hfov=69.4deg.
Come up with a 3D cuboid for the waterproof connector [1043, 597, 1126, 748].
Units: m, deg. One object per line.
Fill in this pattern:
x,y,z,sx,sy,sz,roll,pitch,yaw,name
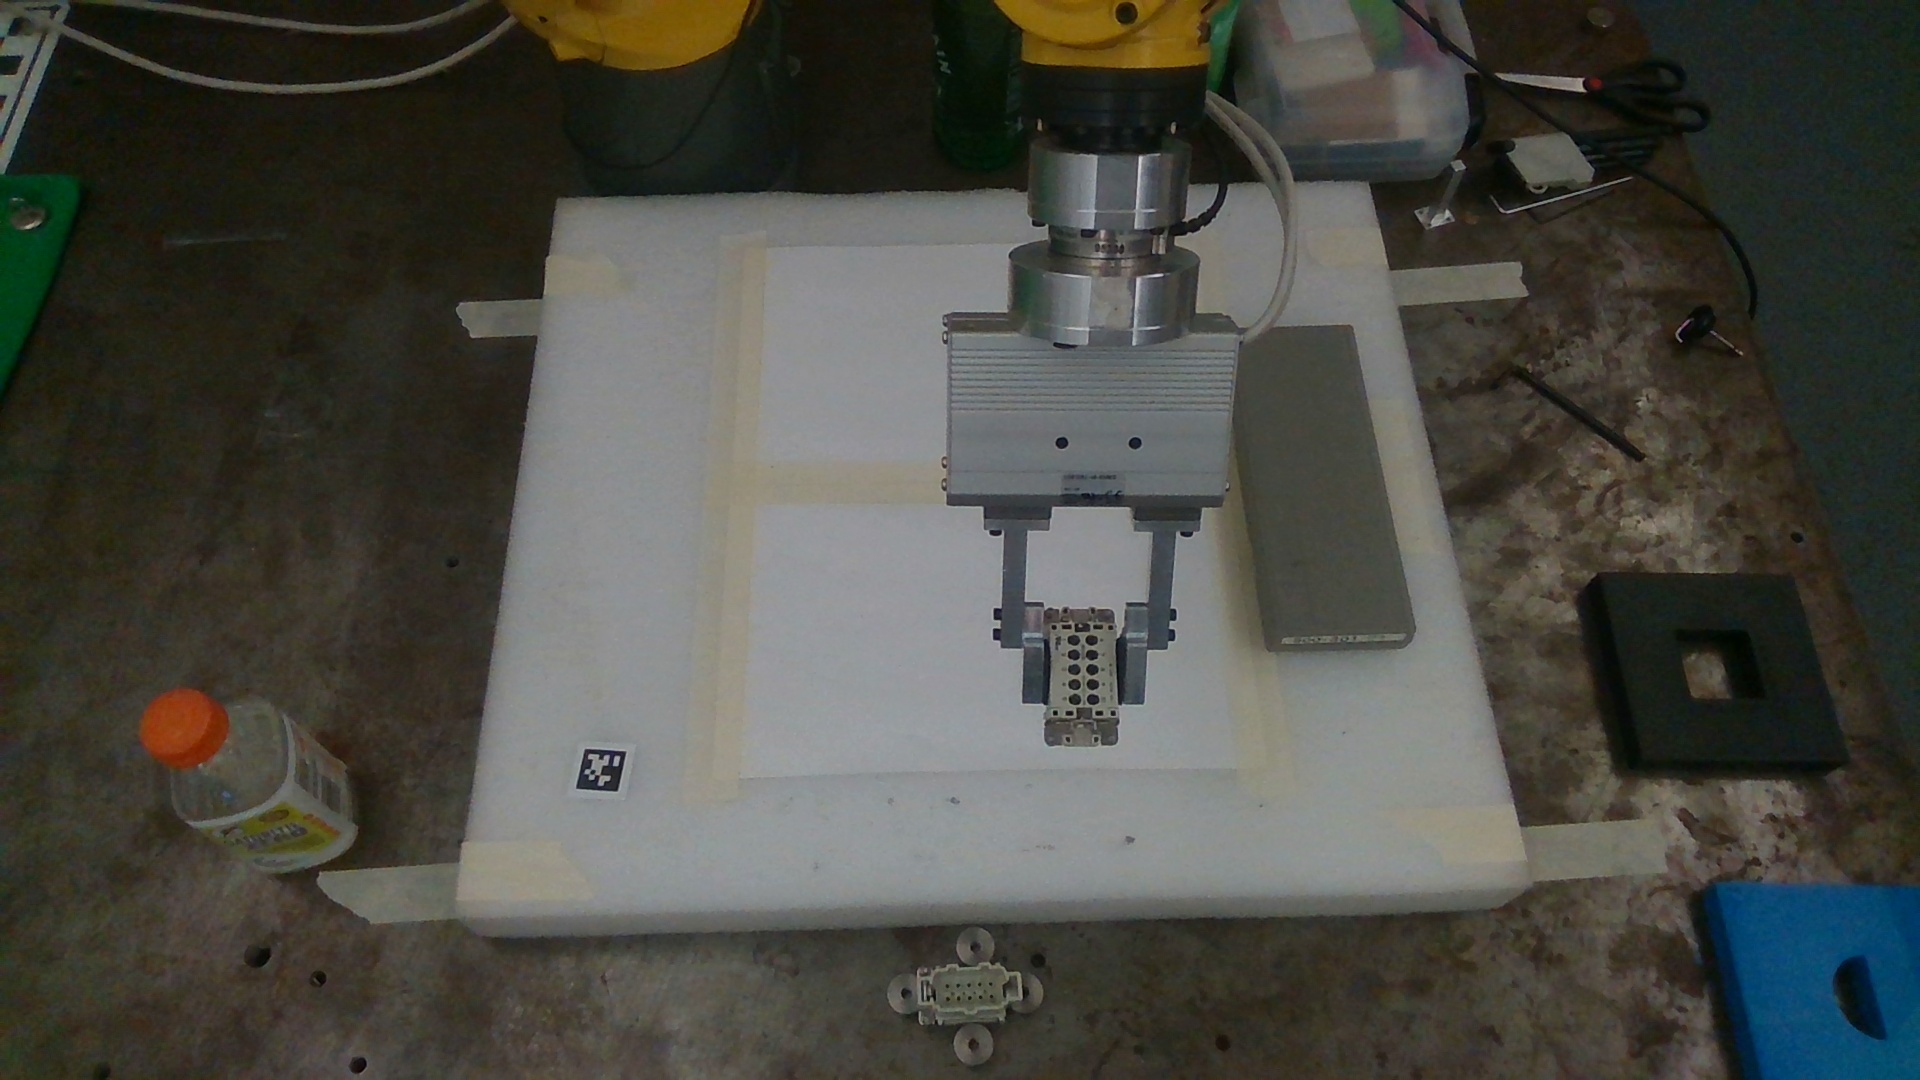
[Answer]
0.058,0.061,0.644,0.037,0.038,0.069,-2,78,5,waterproof connector
